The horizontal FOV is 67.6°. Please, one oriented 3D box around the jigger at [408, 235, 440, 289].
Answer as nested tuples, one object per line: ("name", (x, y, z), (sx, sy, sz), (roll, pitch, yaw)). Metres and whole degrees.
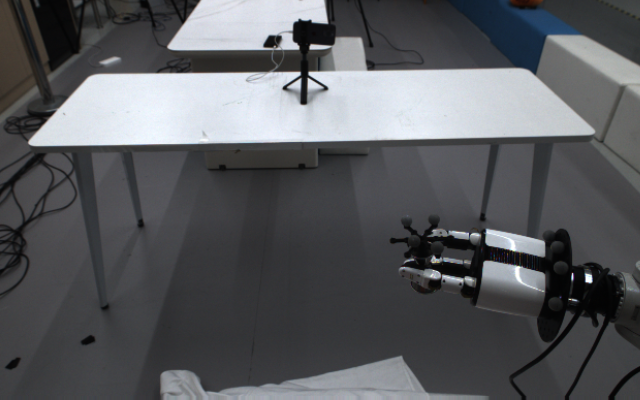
("jigger", (0.154, 0.096, 0.720), (0.043, 0.071, 0.043), (-9, 31, 5))
